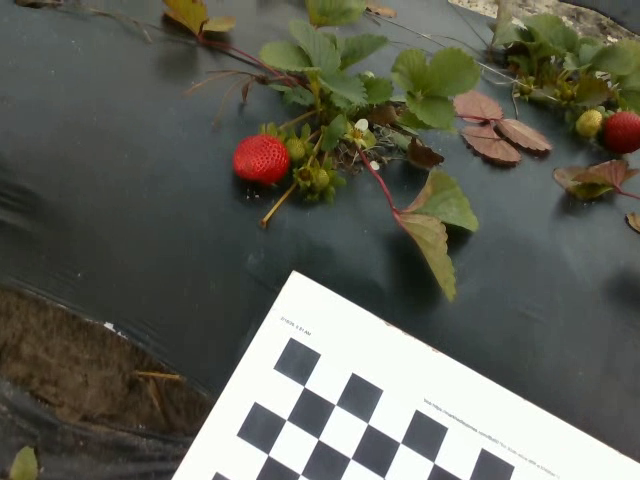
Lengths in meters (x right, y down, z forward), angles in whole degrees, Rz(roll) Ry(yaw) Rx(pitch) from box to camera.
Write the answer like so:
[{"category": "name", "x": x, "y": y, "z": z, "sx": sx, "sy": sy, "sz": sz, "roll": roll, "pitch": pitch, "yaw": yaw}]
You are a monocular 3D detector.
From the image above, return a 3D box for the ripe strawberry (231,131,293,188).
[{"category": "ripe strawberry", "x": -0.014, "y": -0.017, "z": 0.129, "sx": 0.018, "sy": 0.014, "sz": 0.017, "roll": 36, "pitch": 32, "yaw": 0}]
